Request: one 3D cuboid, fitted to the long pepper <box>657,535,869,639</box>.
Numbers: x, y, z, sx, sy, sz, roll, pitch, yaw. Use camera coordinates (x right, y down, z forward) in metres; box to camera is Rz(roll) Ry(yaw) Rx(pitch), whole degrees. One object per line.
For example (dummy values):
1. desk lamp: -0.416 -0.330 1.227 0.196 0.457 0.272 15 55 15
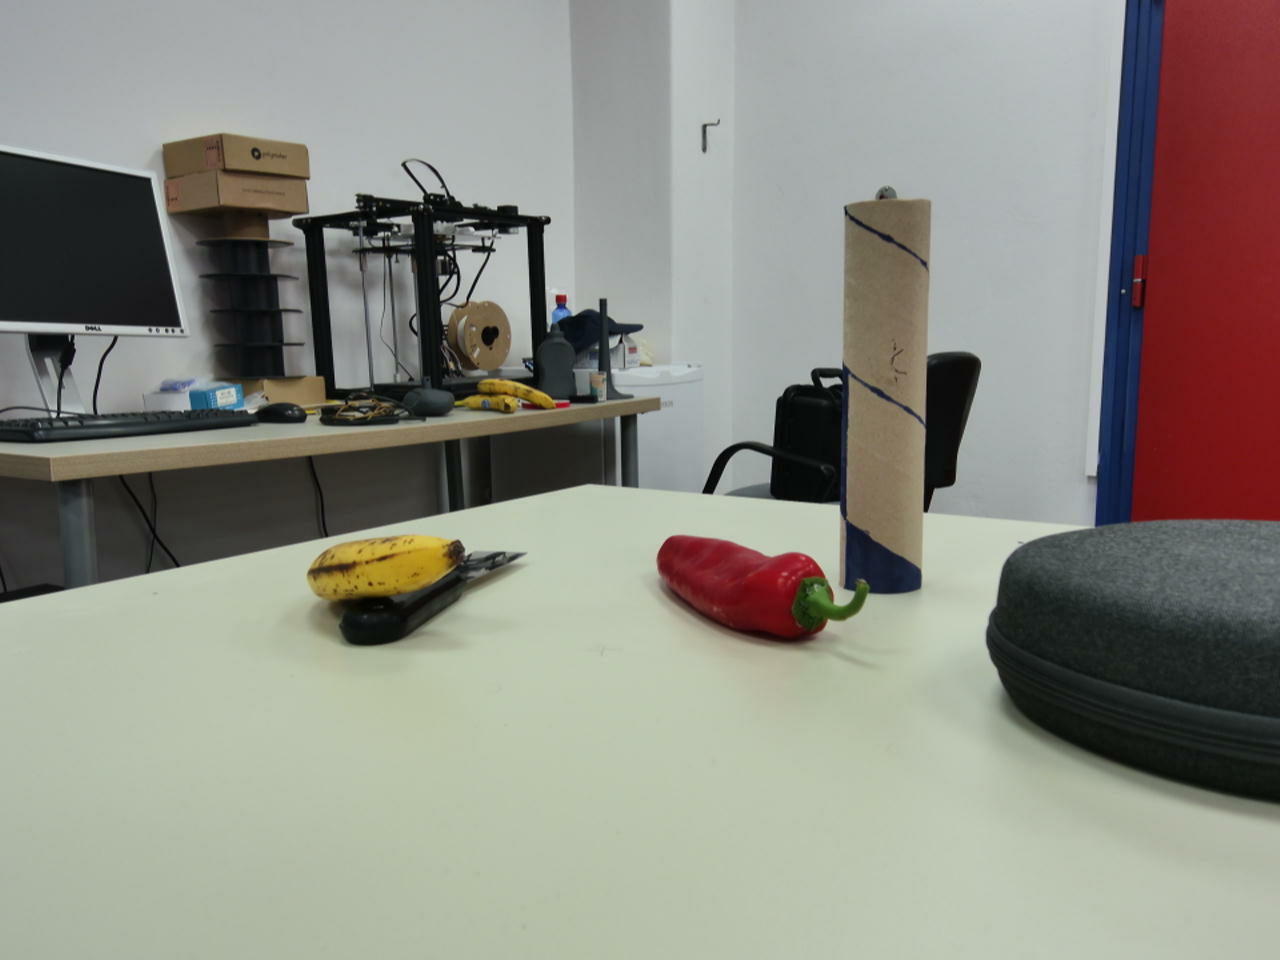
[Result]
1. long pepper: 0.053 0.053 0.549 0.050 0.043 0.211 -2 6 -22
